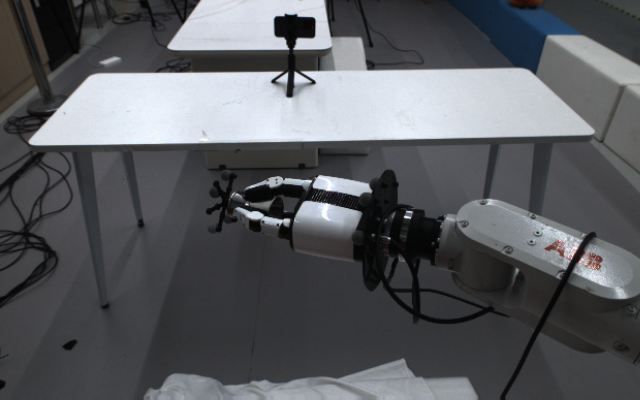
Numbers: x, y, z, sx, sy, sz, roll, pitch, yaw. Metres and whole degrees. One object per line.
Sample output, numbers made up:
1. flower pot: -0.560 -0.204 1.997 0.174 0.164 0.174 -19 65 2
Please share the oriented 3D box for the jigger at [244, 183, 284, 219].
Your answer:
1. jigger: -0.086 0.009 0.691 0.071 0.043 0.043 10 35 22
